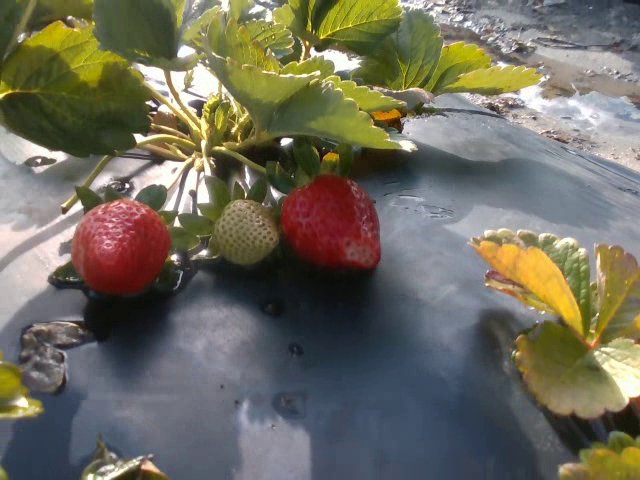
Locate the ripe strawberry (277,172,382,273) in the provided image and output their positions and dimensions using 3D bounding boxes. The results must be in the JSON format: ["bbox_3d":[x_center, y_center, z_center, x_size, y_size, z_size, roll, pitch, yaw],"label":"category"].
[{"bbox_3d":[0.009,-0.005,0.273,0.050,0.049,0.064,37,14,-48],"label":"ripe strawberry"}]
